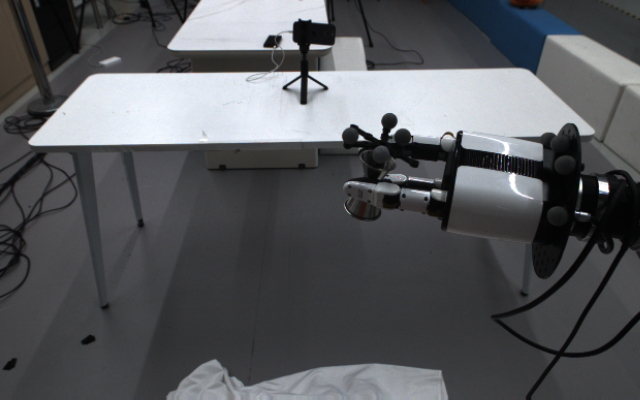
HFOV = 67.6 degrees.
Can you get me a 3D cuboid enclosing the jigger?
[{"bbox_3d":[0.055,-0.016,0.536,0.043,0.071,0.043,10,35,-7],"label":"jigger"}]
